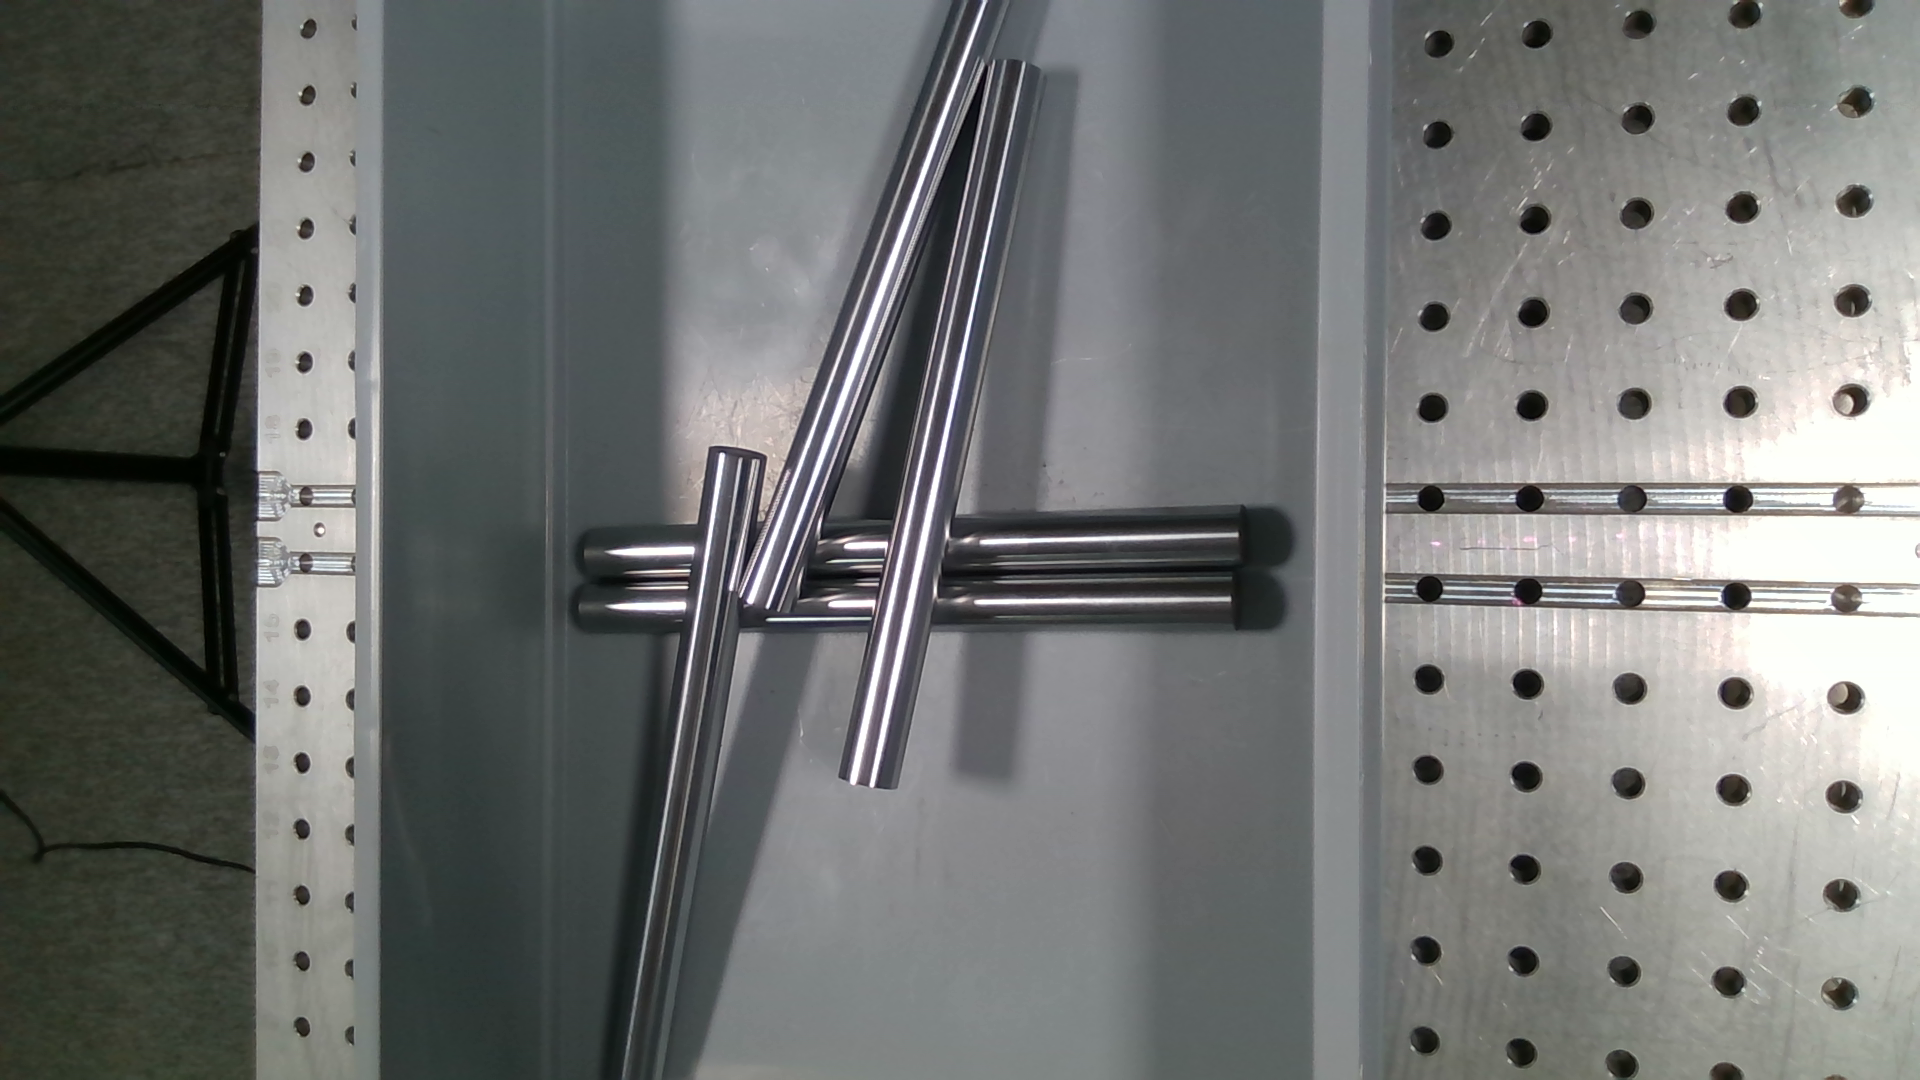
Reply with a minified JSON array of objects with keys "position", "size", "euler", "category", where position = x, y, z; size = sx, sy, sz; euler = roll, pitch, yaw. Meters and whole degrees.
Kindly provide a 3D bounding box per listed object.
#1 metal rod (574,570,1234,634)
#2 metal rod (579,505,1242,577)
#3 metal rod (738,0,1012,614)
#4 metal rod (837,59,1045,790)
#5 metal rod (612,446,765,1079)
[{"position":[-0.033,0.028,0.595],"size":[0.300,0.025,0.025],"euler":[-1,90,20],"category":"metal rod"},{"position":[-0.031,0.002,0.594],"size":[0.300,0.025,0.025],"euler":[-1,90,20],"category":"metal rod"},{"position":[-0.032,-0.114,0.582],"size":[0.025,0.025,0.300],"euler":[21,92,19],"category":"metal rod"},{"position":[-0.007,-0.048,0.566],"size":[0.025,0.025,0.300],"euler":[11,87,20],"category":"metal rod"},{"position":[-0.122,0.108,0.612],"size":[0.025,0.025,0.300],"euler":[15,101,20],"category":"metal rod"}]
